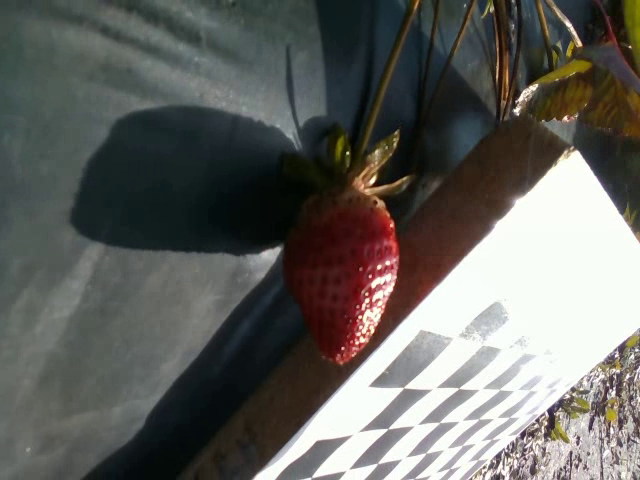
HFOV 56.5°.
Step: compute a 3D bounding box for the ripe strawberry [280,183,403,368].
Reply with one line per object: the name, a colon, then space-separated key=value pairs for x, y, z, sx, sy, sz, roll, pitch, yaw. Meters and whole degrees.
ripe strawberry: x=0.004 y=0.008 z=0.117 sx=0.033 sy=0.038 sz=0.034 roll=-12 pitch=-18 yaw=34
